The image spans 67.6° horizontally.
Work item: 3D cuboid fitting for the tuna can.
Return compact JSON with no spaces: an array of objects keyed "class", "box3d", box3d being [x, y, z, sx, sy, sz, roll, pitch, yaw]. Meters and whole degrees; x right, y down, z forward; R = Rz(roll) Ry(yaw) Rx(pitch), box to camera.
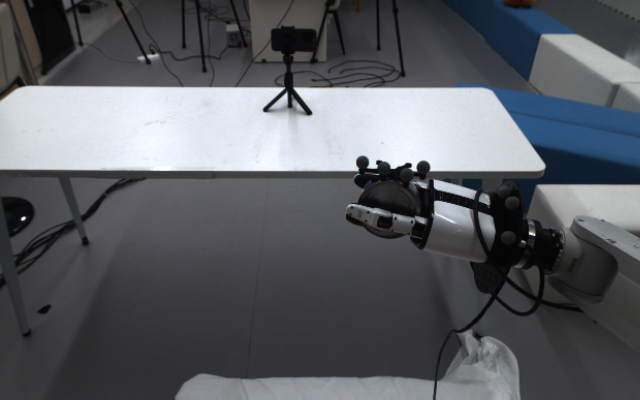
[{"class":"tuna can","box3d":[0.096,0.007,0.663,0.085,0.085,0.034,9,23,10]}]
